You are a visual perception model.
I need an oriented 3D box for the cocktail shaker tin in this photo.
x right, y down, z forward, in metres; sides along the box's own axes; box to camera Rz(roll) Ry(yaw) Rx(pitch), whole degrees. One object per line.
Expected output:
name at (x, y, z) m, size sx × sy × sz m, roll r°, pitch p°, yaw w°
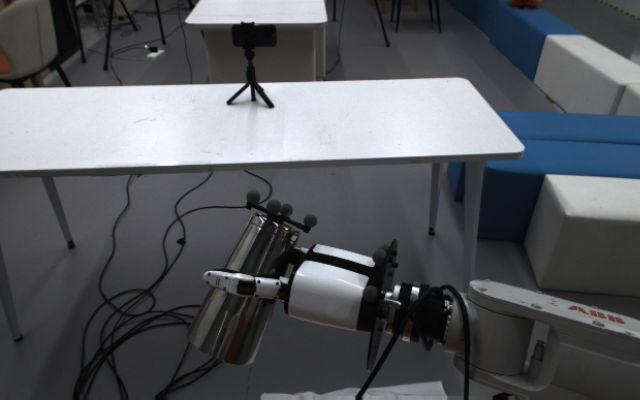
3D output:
cocktail shaker tin at (-0.087, 0.104, 0.608) m, size 0.093 × 0.170 × 0.093 m, roll 23°, pitch 0°, yaw 0°
